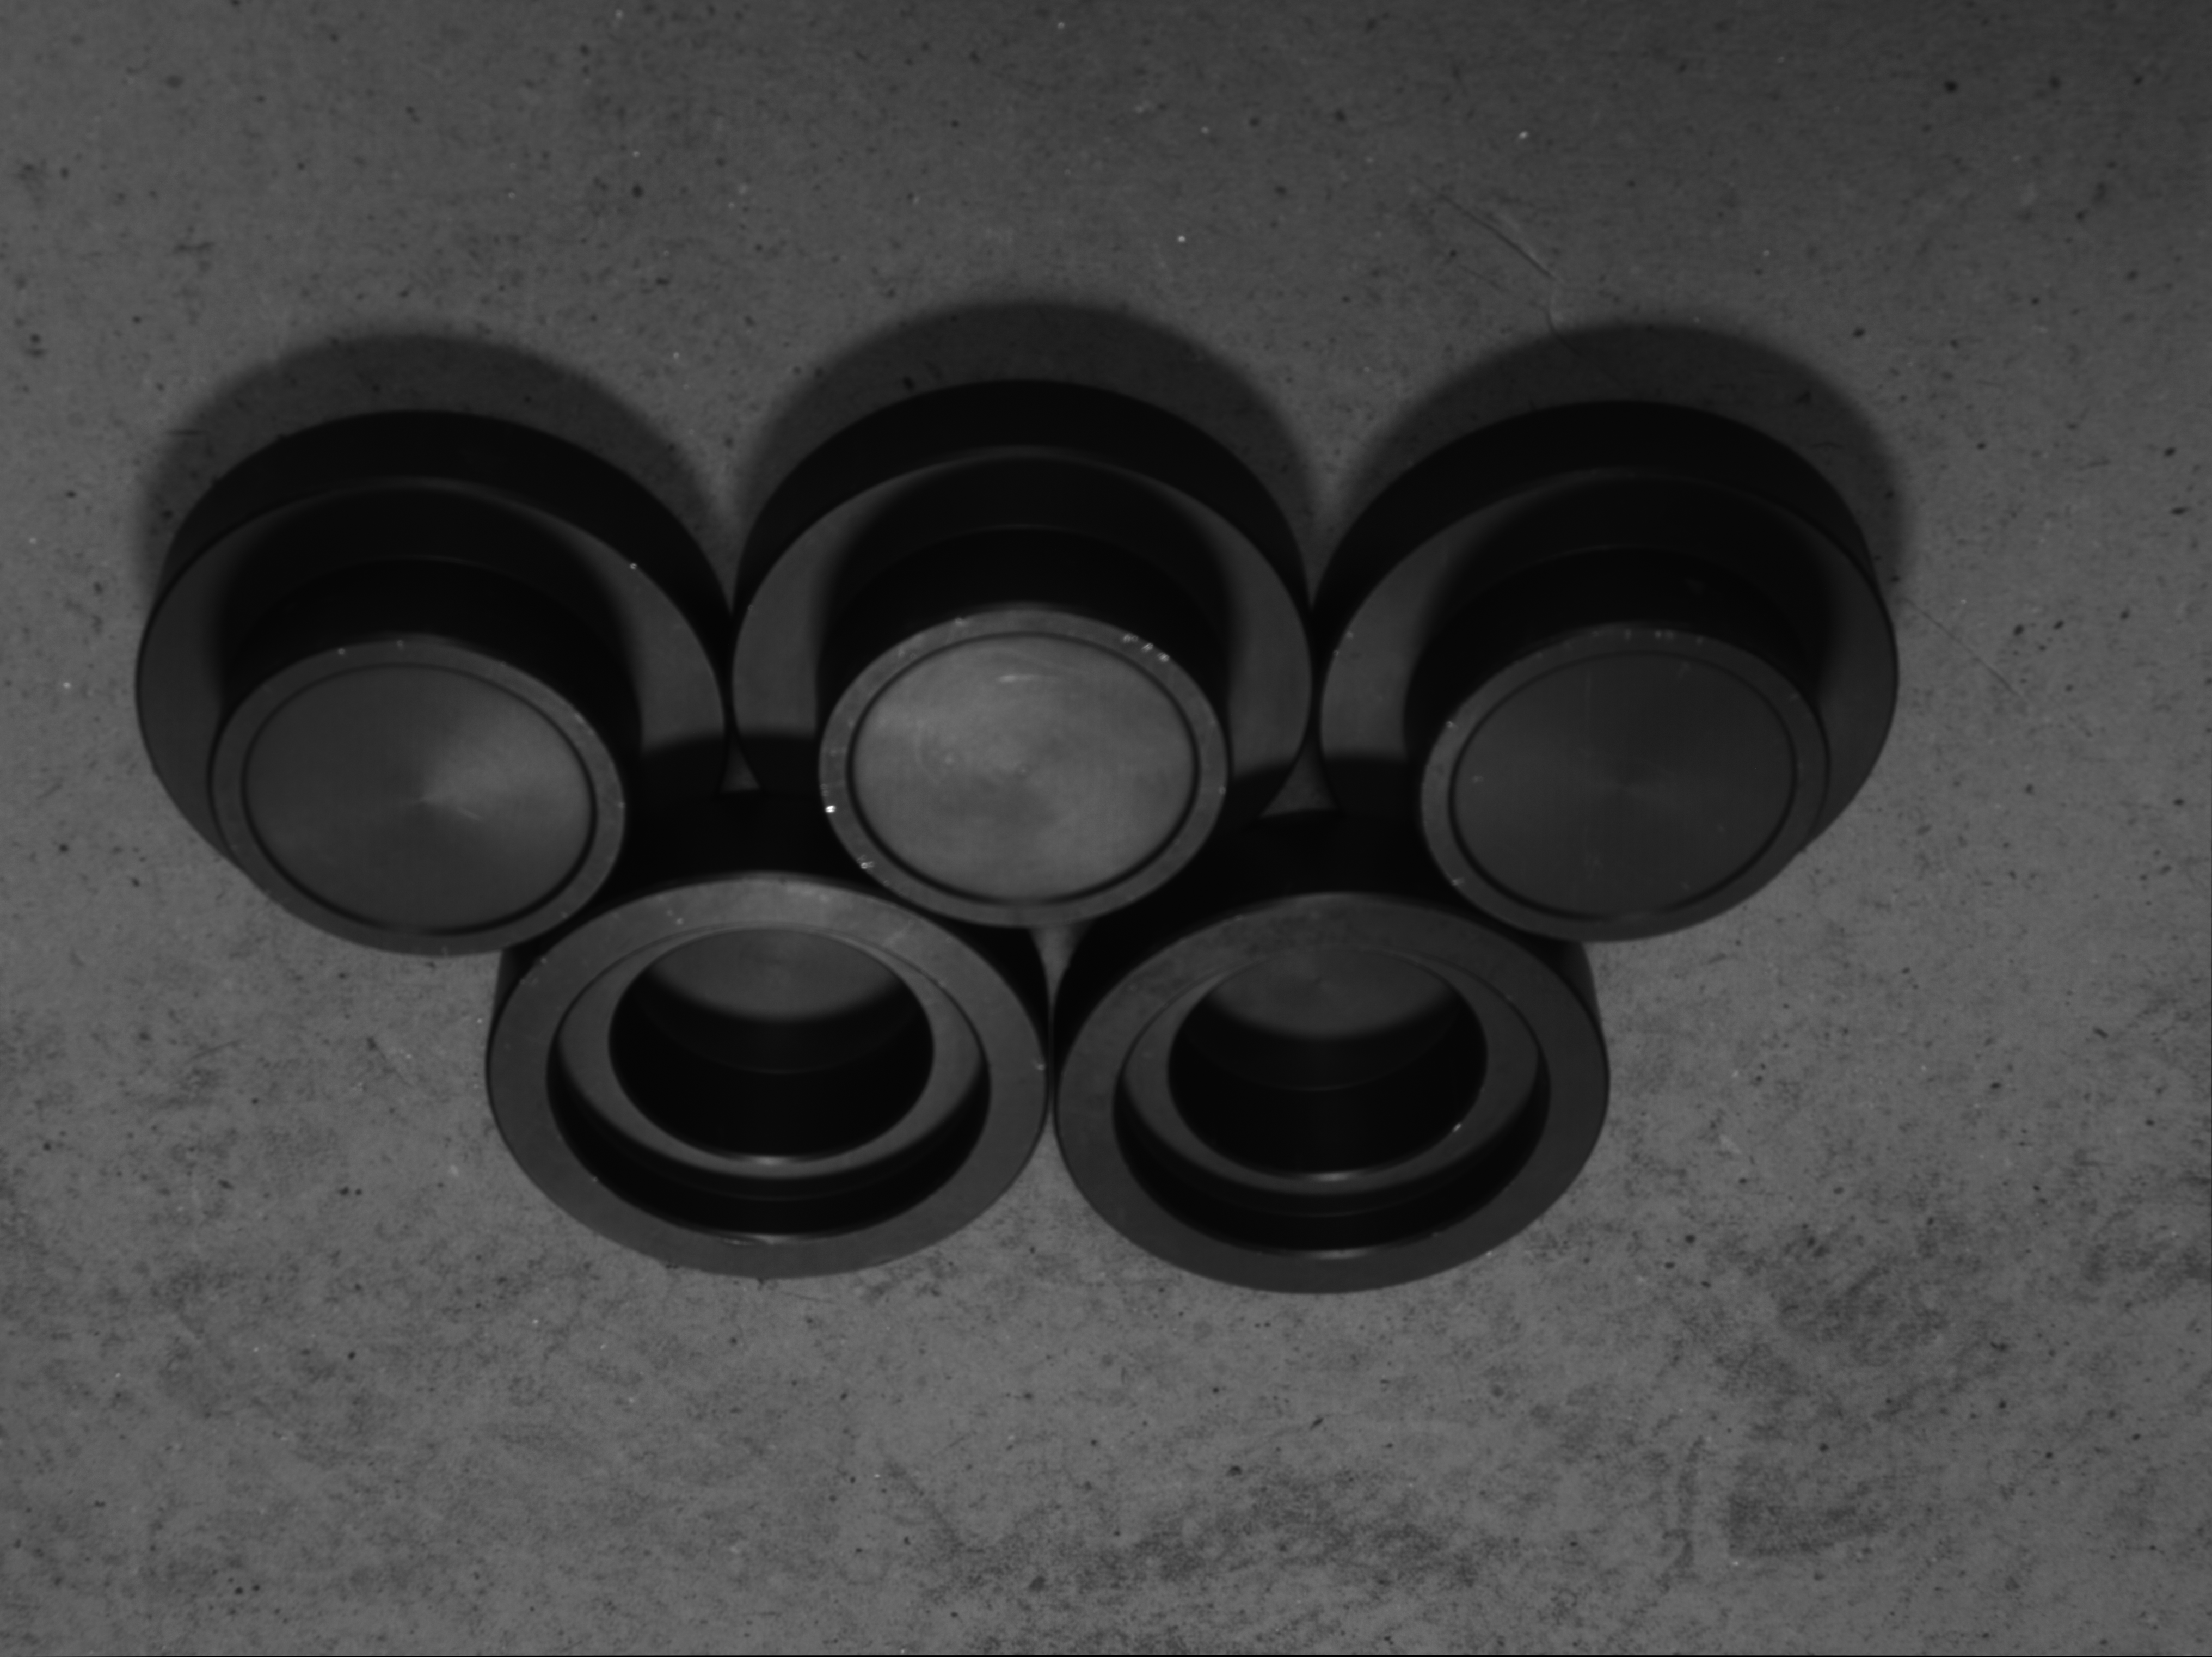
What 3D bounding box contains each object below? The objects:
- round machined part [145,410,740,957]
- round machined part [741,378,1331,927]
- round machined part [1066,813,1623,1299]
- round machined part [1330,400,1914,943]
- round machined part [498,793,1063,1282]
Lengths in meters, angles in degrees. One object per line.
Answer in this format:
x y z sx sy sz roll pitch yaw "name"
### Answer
-0.110 -0.017 0.609 0.098 0.042 0.098 -1 130 -1 "round machined part"
-0.012 -0.022 0.608 0.098 0.042 0.098 -1 130 -1 "round machined part"
0.042 0.036 0.659 0.098 0.042 0.098 -1 130 -1 "round machined part"
0.087 -0.020 0.614 0.098 0.042 0.098 -1 130 -1 "round machined part"
-0.057 0.032 0.653 0.098 0.042 0.098 -1 130 -1 "round machined part"
